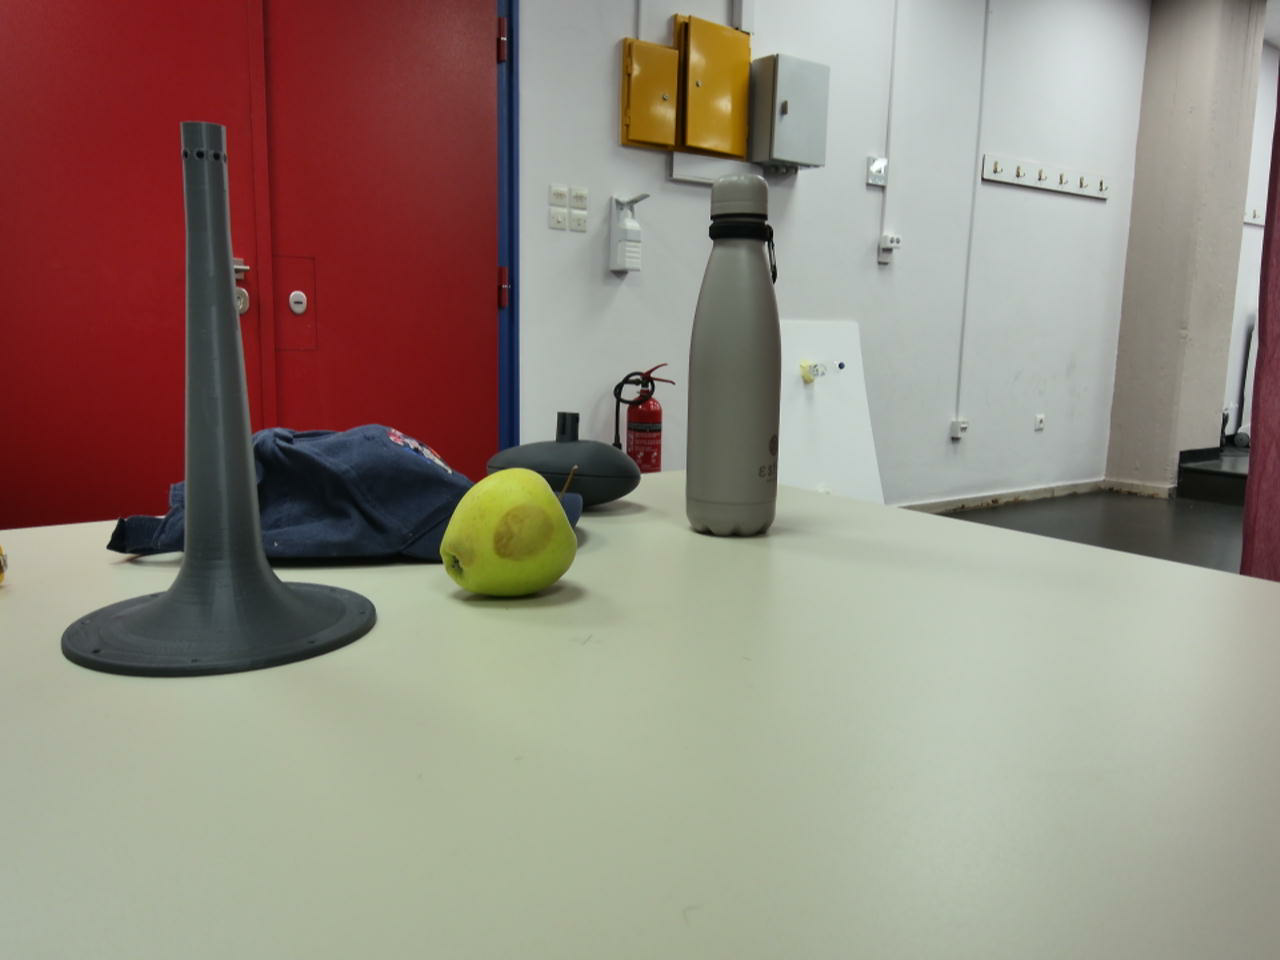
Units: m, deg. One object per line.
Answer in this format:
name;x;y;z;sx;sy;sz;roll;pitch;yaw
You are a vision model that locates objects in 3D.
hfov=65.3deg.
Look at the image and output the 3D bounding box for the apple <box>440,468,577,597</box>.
apple;-0.077;0.031;0.602;0.077;0.075;0.072;1;8;8
